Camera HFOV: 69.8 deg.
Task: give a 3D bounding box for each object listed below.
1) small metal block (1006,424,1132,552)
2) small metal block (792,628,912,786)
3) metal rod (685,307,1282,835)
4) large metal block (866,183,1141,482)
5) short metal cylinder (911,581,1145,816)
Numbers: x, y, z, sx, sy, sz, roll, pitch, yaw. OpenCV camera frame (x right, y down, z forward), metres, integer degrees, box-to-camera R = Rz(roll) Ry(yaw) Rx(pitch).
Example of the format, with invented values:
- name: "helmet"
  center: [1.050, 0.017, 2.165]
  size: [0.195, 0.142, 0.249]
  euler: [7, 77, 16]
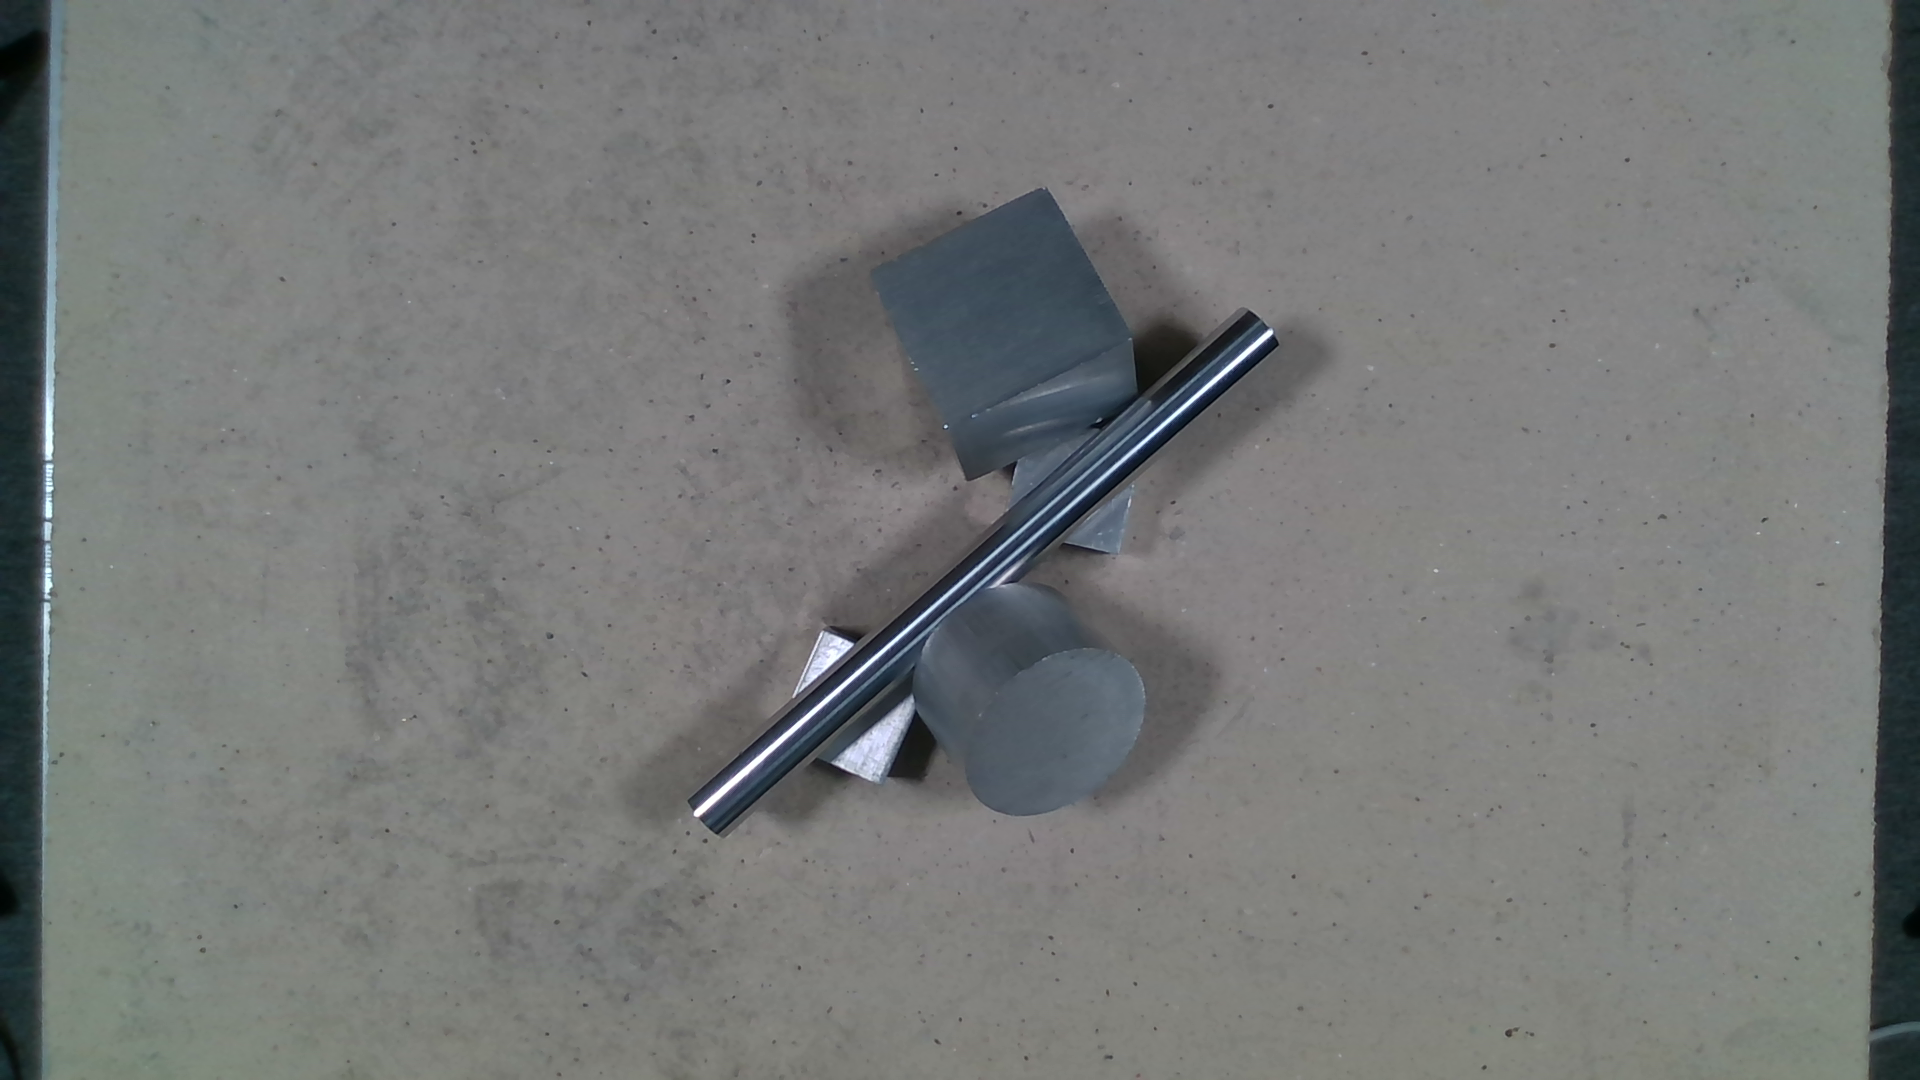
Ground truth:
- name: "small metal block"
  center: [0.047, -0.025, 0.587]
  size: [0.050, 0.025, 0.050]
  euler: [12, 90, 0]
- name: "small metal block"
  center: [-0.045, 0.070, 0.588]
  size: [0.050, 0.025, 0.050]
  euler: [24, 90, 0]
- name: "metal rod"
  center: [0.009, 0.013, 0.562]
  size: [0.300, 0.025, 0.025]
  euler: [-41, 90, 0]
- name: "large metal block"
  center: [0.019, -0.083, 0.558]
  size: [0.080, 0.050, 0.080]
  euler: [-26, 67, 1]
- name: "short metal cylinder"
  center: [0.027, 0.064, 0.555]
  size: [0.080, 0.050, 0.080]
  euler: [-14, 126, -21]
